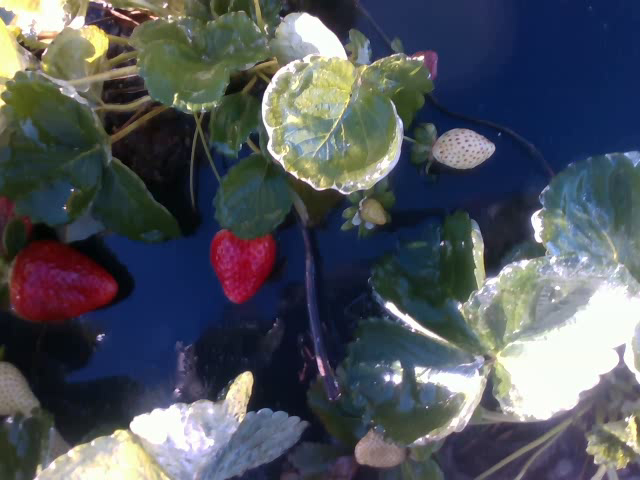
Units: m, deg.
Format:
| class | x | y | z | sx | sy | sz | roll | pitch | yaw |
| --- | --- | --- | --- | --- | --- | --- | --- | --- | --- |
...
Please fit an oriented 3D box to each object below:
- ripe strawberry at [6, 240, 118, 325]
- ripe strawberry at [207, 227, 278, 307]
| class | x | y | z | sx | sy | sz | roll | pitch | yaw |
| --- | --- | --- | --- | --- | --- | --- | --- | --- | --- |
| ripe strawberry | -0.132 | 0.025 | 0.308 | 0.056 | 0.044 | 0.040 | 13 | 11 | -10 |
| ripe strawberry | -0.038 | 0.013 | 0.302 | 0.039 | 0.047 | 0.040 | 2 | 1 | -8 |
